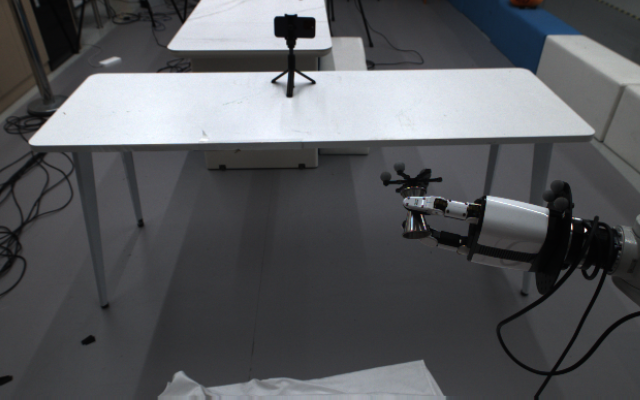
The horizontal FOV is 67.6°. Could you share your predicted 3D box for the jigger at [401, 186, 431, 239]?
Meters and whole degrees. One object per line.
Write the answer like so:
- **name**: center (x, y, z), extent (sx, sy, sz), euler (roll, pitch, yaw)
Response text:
- **jigger**: center (0.140, 0.017, 0.715), extent (0.043, 0.043, 0.071), euler (1, 70, -2)
